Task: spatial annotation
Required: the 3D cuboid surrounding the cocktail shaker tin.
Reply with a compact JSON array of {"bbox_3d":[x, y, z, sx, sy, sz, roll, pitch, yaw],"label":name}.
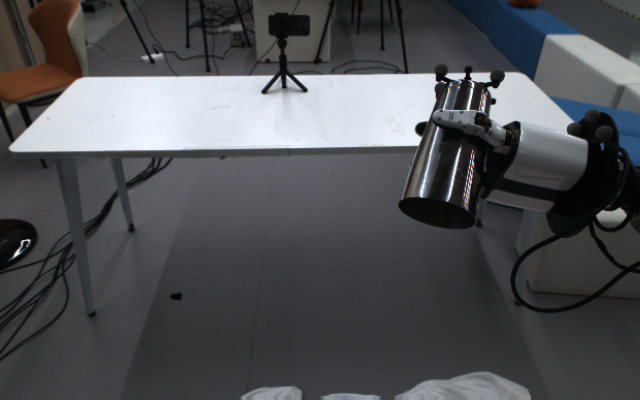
[{"bbox_3d":[0.163,-0.060,0.597,0.093,0.093,0.170,13,70,15],"label":"cocktail shaker tin"}]
